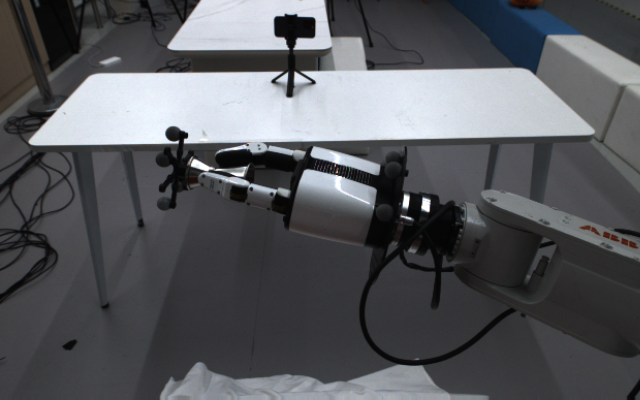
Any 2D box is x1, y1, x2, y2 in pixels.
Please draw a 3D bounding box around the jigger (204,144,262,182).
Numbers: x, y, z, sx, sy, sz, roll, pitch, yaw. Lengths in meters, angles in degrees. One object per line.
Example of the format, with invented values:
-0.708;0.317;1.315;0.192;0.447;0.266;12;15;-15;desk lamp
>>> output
-0.106;-0.028;0.553;0.071;0.043;0.043;9;35;4;jigger
